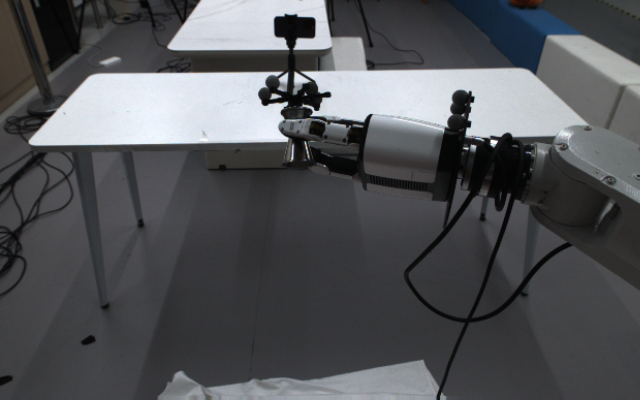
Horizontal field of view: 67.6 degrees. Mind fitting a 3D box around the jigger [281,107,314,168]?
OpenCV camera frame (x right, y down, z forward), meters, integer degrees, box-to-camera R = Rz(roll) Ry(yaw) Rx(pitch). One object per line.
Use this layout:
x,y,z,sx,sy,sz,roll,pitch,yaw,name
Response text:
-0.028,-0.078,0.598,0.043,0.071,0.043,-2,-7,0,jigger
